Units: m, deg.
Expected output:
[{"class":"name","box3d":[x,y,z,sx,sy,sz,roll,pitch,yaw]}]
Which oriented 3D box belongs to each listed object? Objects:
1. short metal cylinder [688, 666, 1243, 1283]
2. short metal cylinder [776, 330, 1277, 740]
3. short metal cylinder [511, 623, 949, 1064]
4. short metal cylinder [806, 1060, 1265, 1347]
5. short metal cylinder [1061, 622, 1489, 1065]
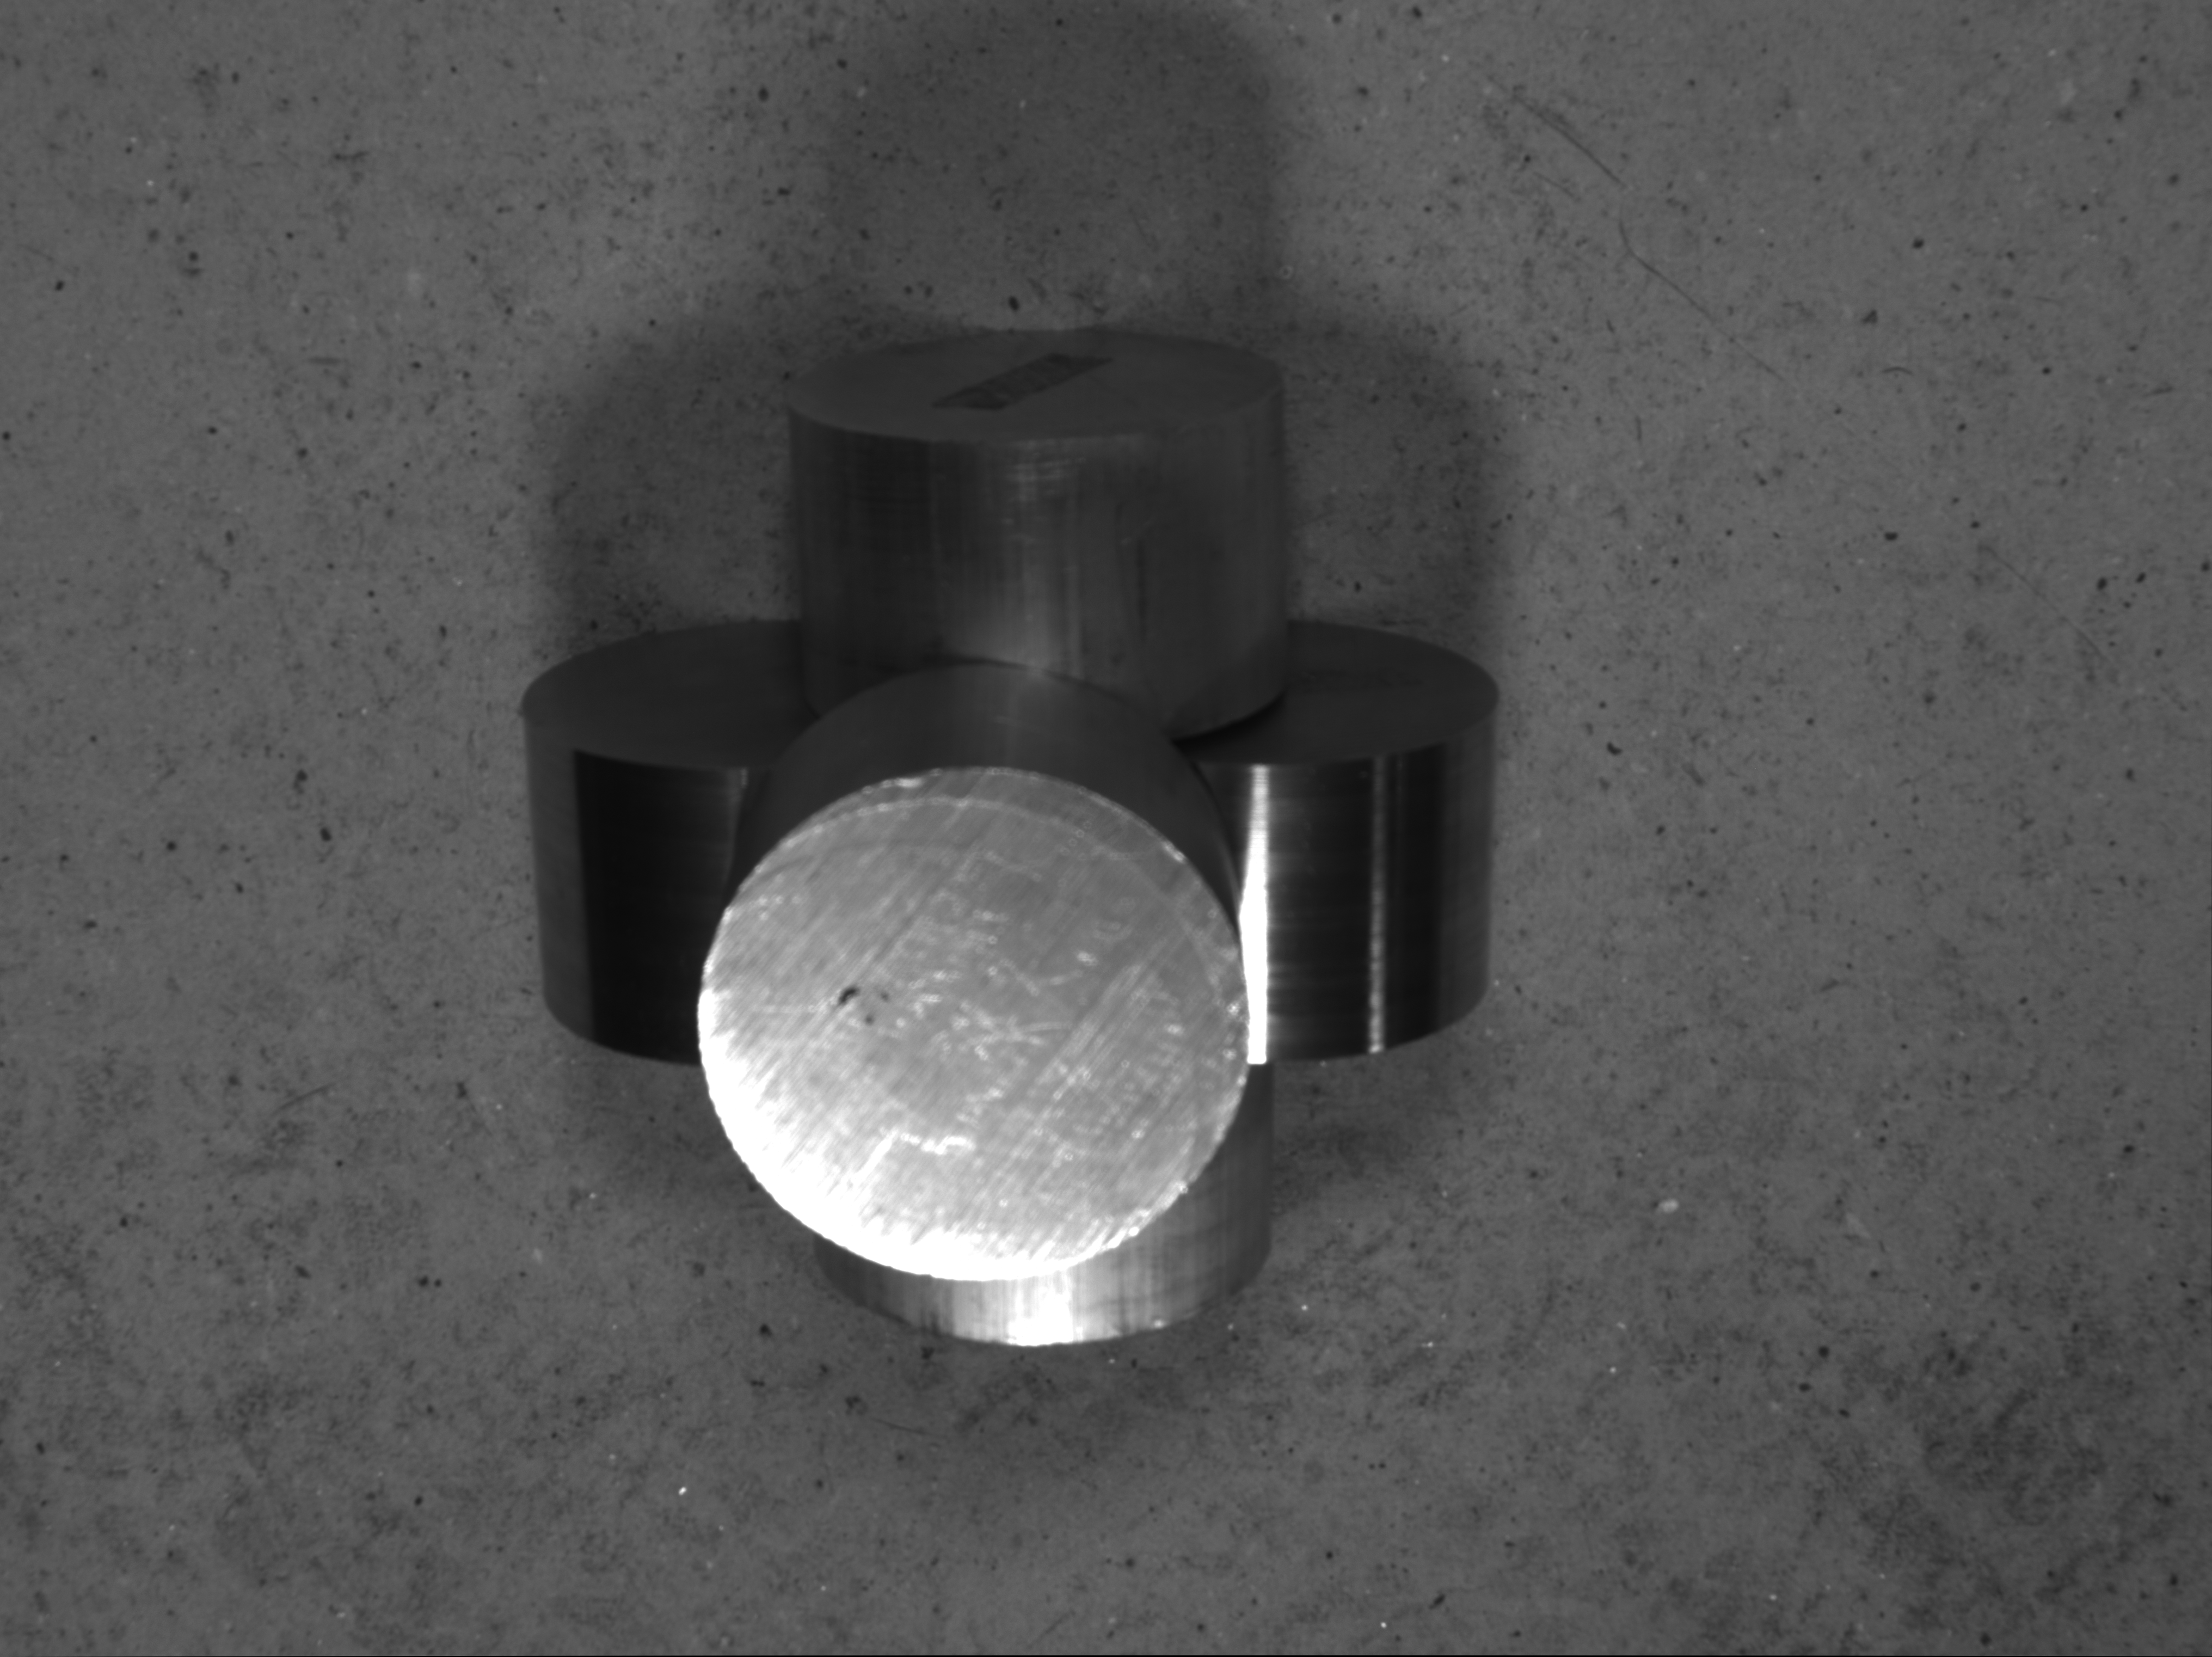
[{"class":"short metal cylinder","box3d":[-0.020,0.021,0.552,0.080,0.050,0.080,0,110,-1]},{"class":"short metal cylinder","box3d":[-0.012,-0.048,0.596,0.080,0.080,0.050,-2,110,0]},{"class":"short metal cylinder","box3d":[-0.058,0.001,0.614,0.080,0.080,0.050,-1,110,0]},{"class":"short metal cylinder","box3d":[-0.013,0.048,0.631,0.080,0.080,0.050,0,110,-1]},{"class":"short metal cylinder","box3d":[0.023,0.001,0.614,0.080,0.080,0.050,0,110,0]}]
